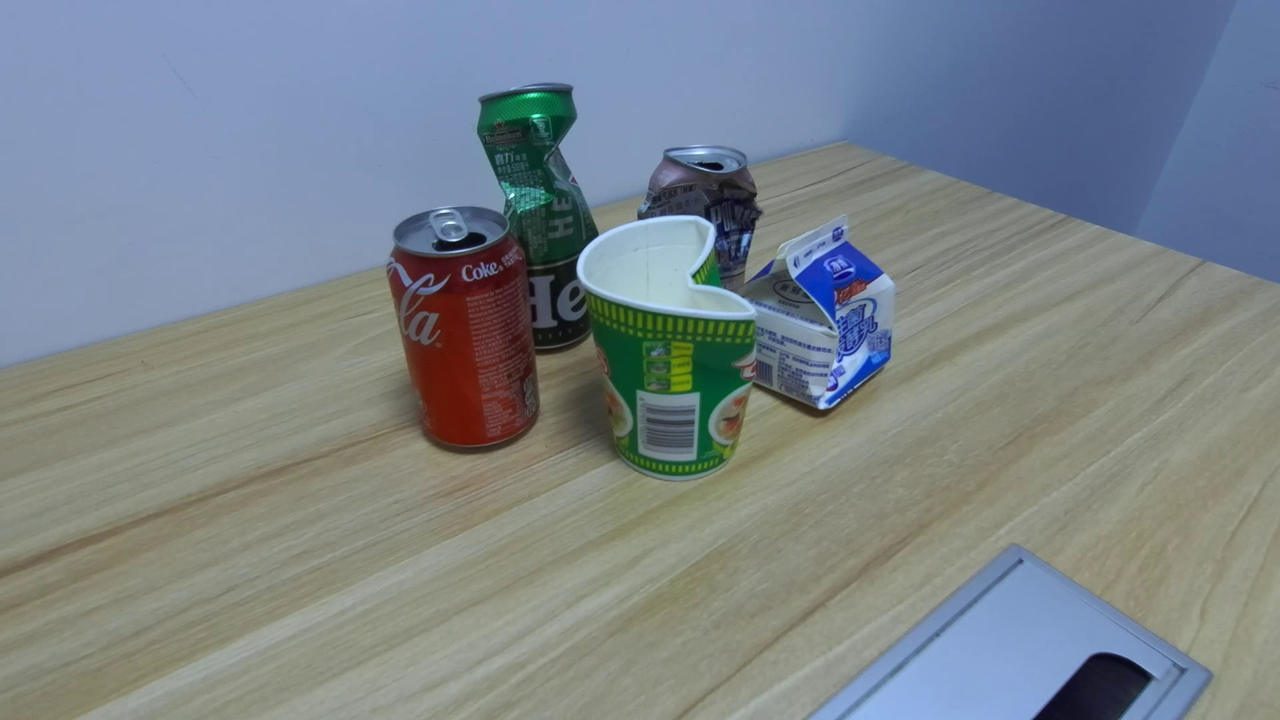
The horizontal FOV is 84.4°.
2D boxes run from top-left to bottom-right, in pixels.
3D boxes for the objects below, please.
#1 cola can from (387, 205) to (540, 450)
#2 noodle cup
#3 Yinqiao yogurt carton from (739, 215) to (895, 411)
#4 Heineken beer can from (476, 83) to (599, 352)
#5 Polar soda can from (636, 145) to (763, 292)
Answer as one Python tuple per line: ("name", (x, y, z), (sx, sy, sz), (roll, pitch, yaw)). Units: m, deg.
("cola can", (-0.089, -0.016, 0.367), (0.068, 0.120, 0.067), (-1, 34, 1))
("noodle cup", (0.017, -0.003, 0.355), (0.087, 0.109, 0.094), (8, 36, 12))
("Yinqiao yogurt carton", (0.100, -0.032, 0.412), (0.070, 0.094, 0.078), (23, 39, 40))
("Heineken beer can", (-0.060, -0.087, 0.438), (0.067, 0.159, 0.078), (-19, 33, -30))
("Polar soda can", (0.042, -0.086, 0.473), (0.070, 0.114, 0.074), (19, 41, 18))
